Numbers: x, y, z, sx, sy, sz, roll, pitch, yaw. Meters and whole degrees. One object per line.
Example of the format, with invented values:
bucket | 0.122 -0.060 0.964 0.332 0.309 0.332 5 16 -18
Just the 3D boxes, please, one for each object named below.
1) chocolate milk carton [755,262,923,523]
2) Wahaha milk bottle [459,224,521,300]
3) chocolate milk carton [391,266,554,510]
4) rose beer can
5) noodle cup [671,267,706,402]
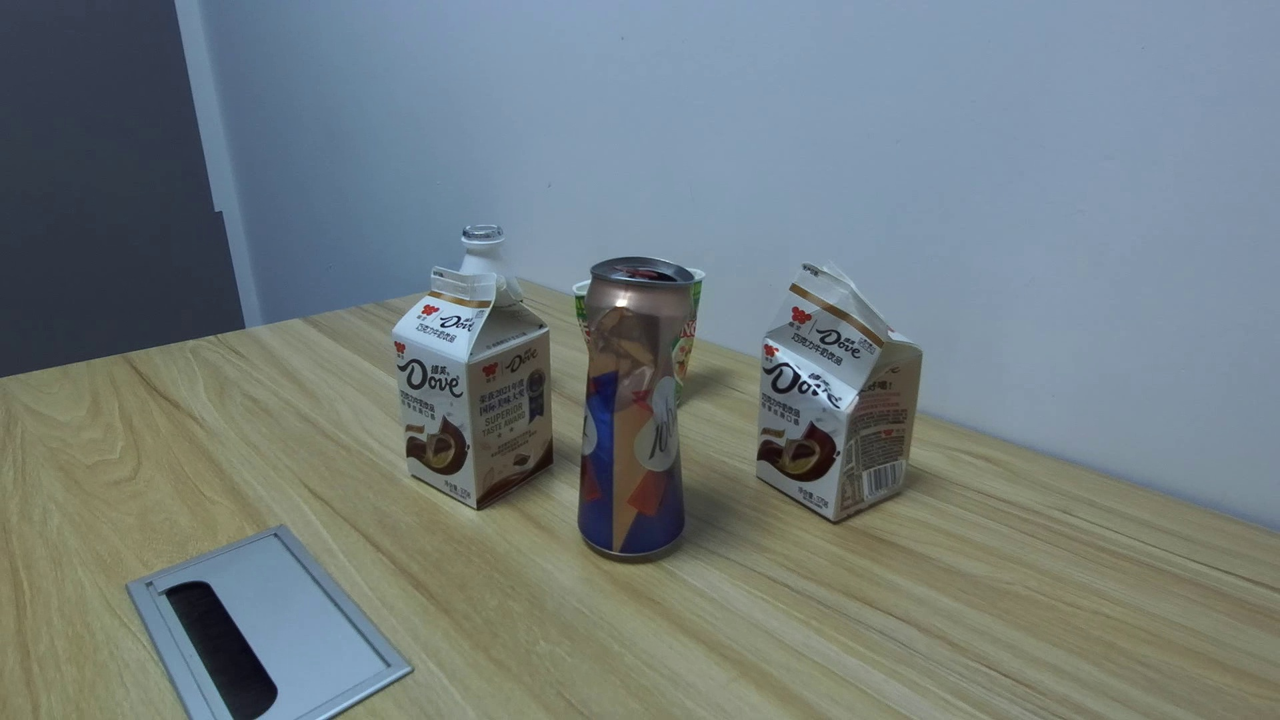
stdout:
chocolate milk carton | 0.128 0.015 0.456 0.074 0.155 0.076 -17 29 -31
Wahaha milk bottle | -0.134 -0.044 0.598 0.056 0.147 0.056 7 36 -4
chocolate milk carton | -0.109 0.010 0.467 0.075 0.148 0.074 18 29 33
rose beer can | 0.000 0.030 0.401 0.065 0.167 0.076 13 23 21
noodle cup | 0.001 -0.018 0.588 0.115 0.111 0.070 -3 25 -9
